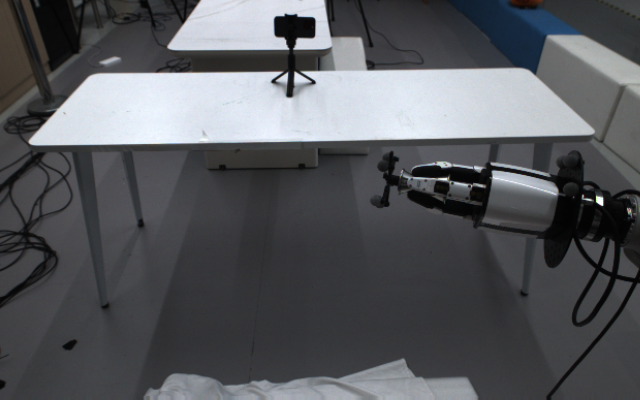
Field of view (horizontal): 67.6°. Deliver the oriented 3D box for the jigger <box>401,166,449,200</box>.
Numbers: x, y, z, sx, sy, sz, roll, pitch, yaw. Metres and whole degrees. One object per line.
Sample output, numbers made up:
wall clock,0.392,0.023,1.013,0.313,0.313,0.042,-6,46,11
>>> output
jigger,0.155,-0.025,0.696,0.071,0.043,0.043,10,35,16
